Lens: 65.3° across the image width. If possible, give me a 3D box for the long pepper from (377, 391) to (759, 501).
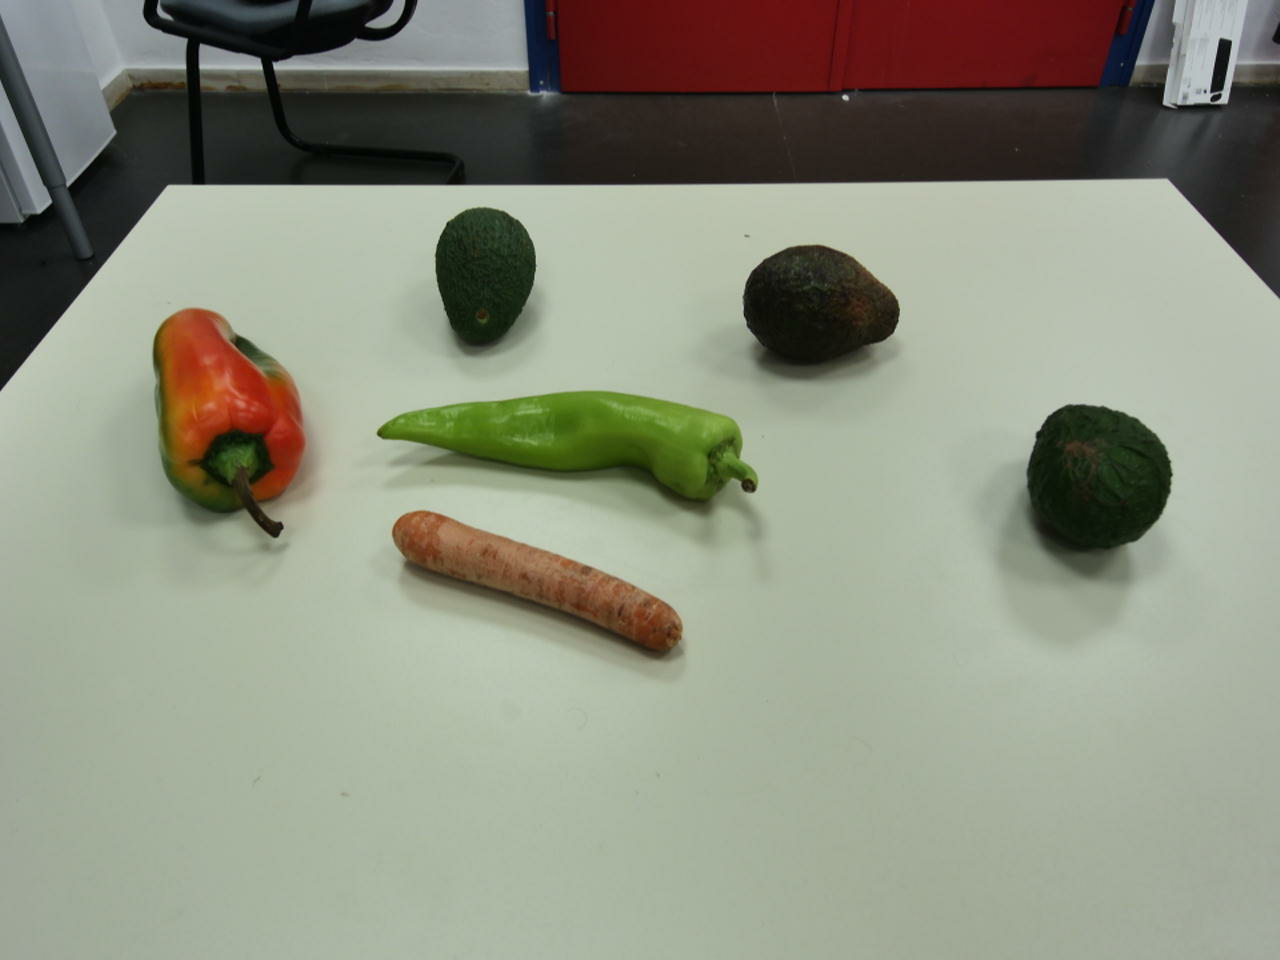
[{"bbox_3d":[-0.033,-0.024,0.529,0.205,0.045,0.065,11,40,13],"label":"long pepper"}]
